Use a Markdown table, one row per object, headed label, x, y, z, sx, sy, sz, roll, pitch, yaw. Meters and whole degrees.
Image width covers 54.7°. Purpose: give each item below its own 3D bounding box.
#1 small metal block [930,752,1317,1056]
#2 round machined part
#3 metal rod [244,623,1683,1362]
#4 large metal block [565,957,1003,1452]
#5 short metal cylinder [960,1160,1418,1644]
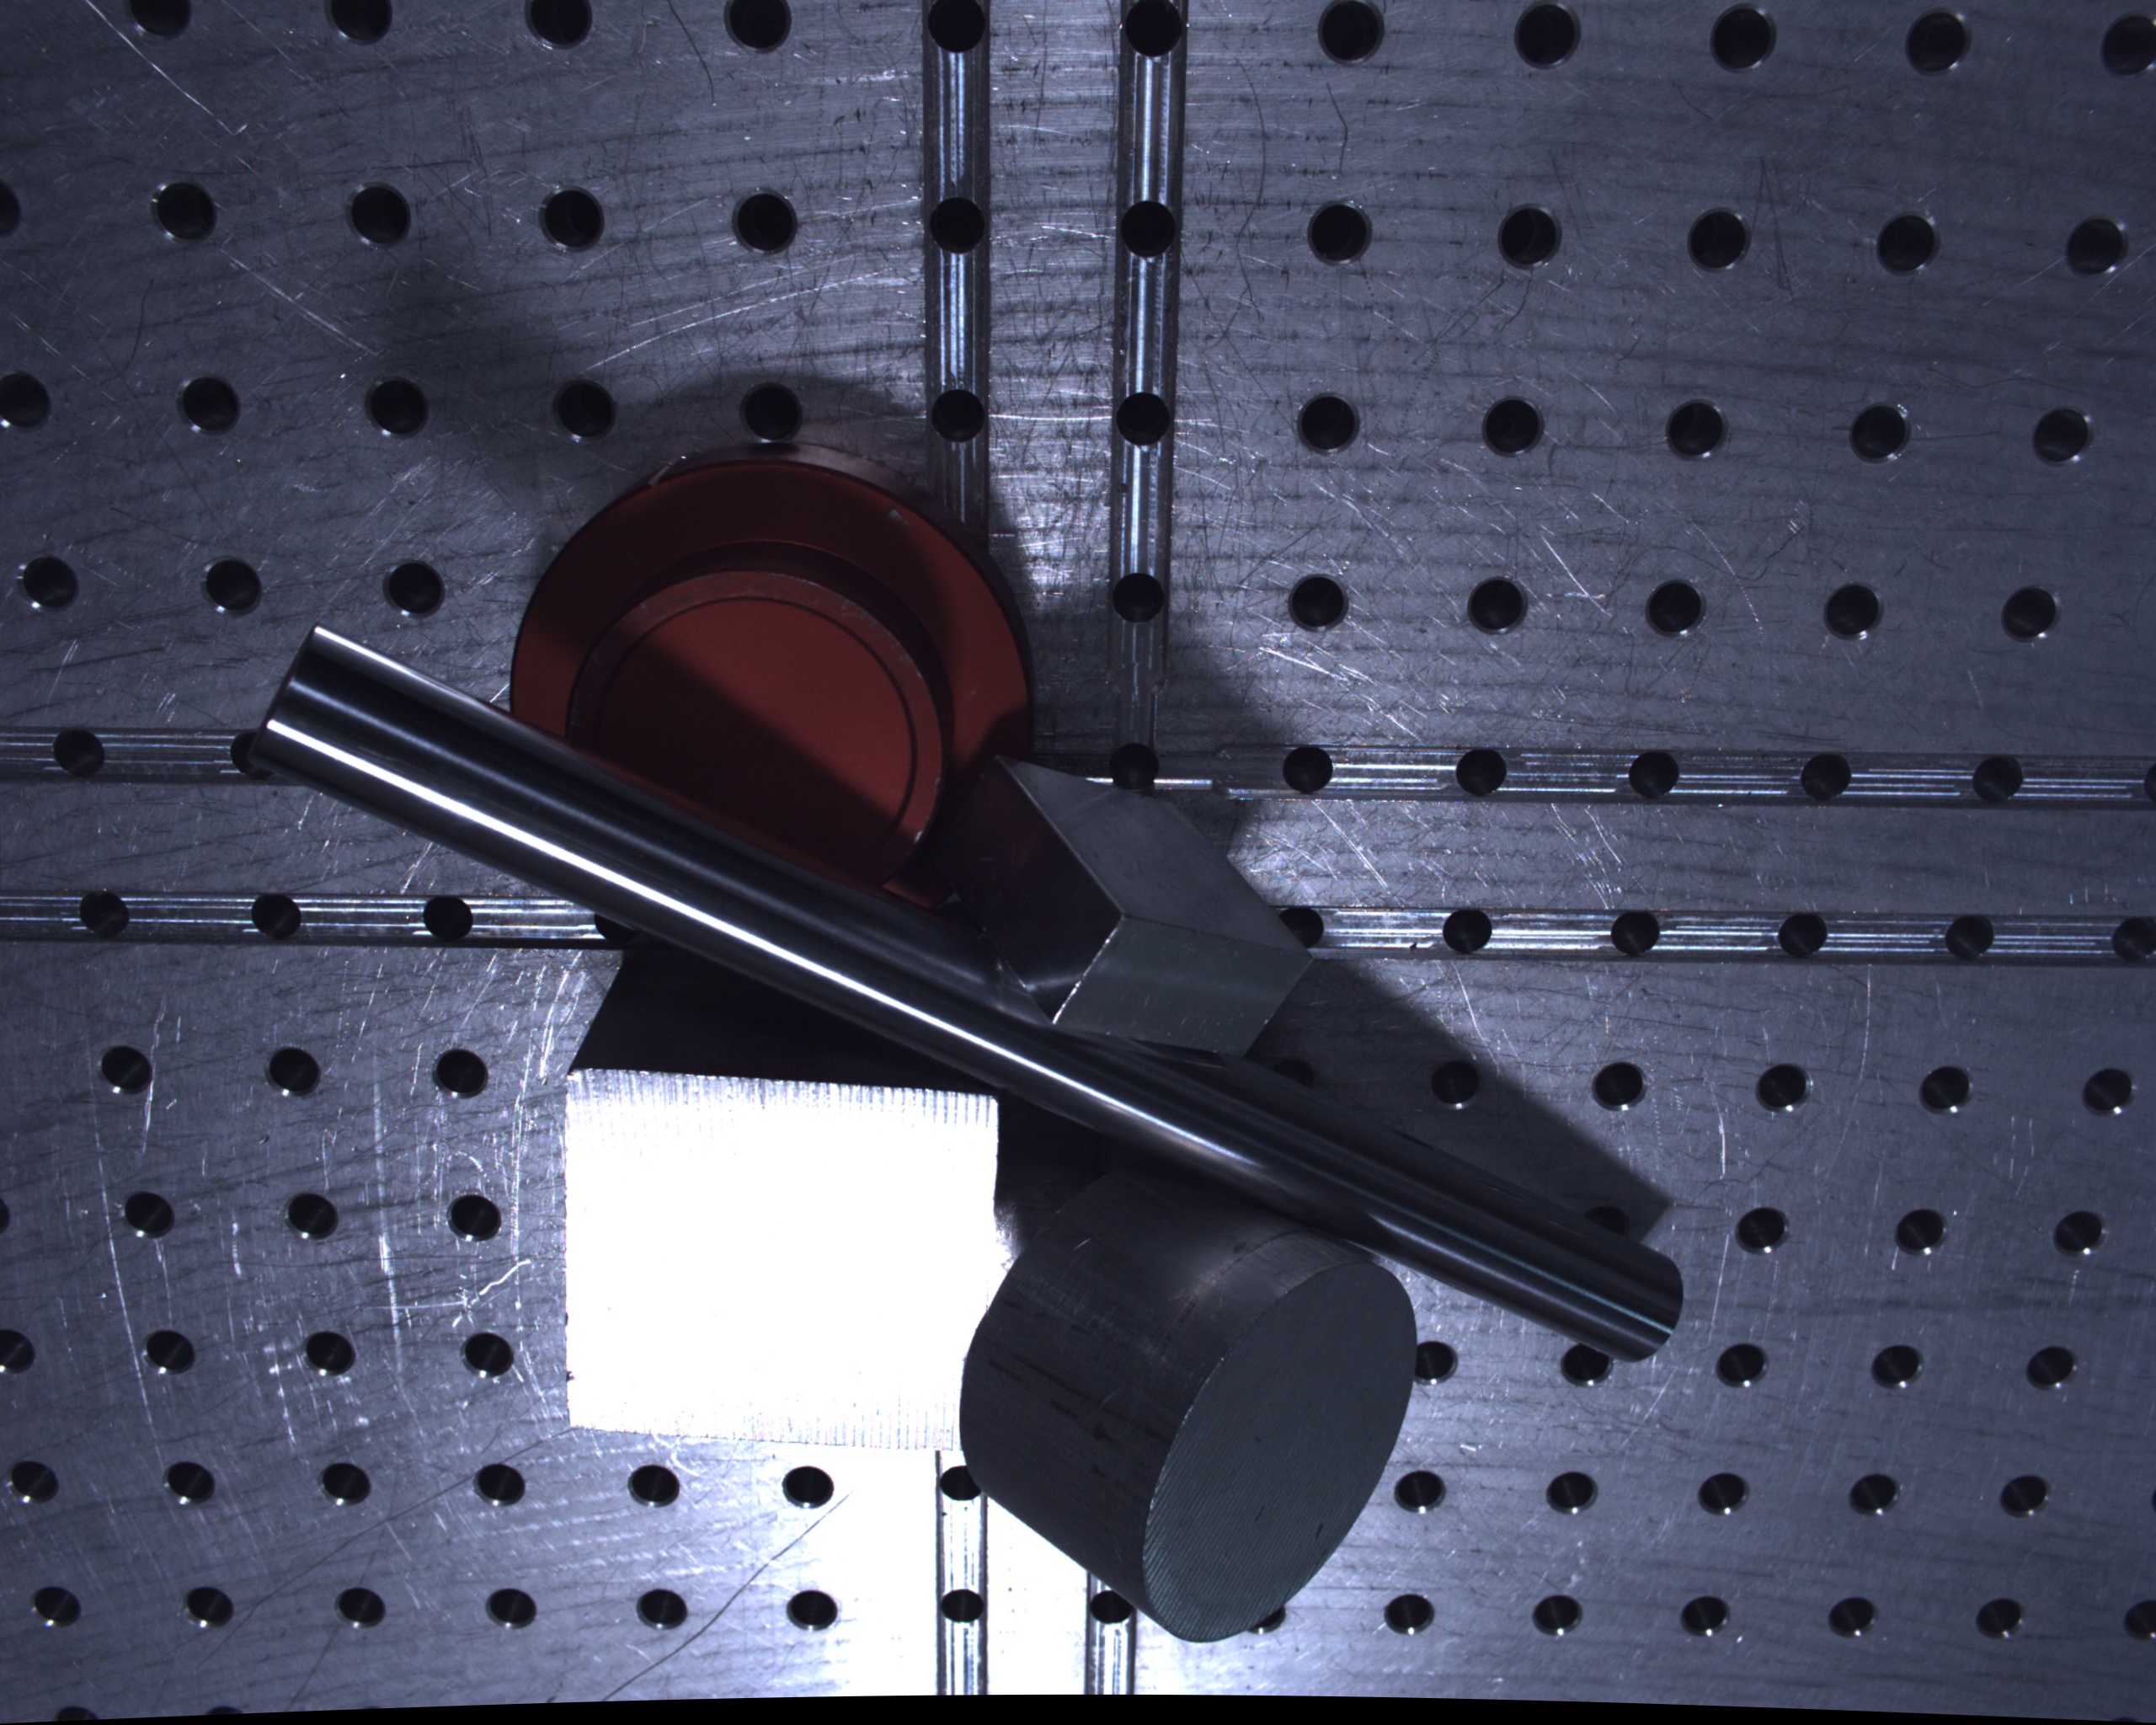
| label | x | y | z | sx | sy | sz | roll | pitch | yaw |
| --- | --- | --- | --- | --- | --- | --- | --- | --- | --- |
| small metal block | 0.008 | 0.008 | 0.393 | 0.050 | 0.050 | 0.025 | 14 | 117 | -42 |
| round machined part | -0.058 | -0.027 | 0.394 | 0.099 | 0.042 | 0.097 | 0 | 110 | -1 |
| metal rod | -0.003 | 0.034 | 0.391 | 0.302 | 0.025 | 0.025 | 26 | 108 | -23 |
| large metal block | -0.058 | 0.068 | 0.422 | 0.081 | 0.050 | 0.079 | 4 | 110 | -2 |
| short metal cylinder | 0.023 | 0.106 | 0.417 | 0.081 | 0.050 | 0.079 | -23 | 124 | -40 |
